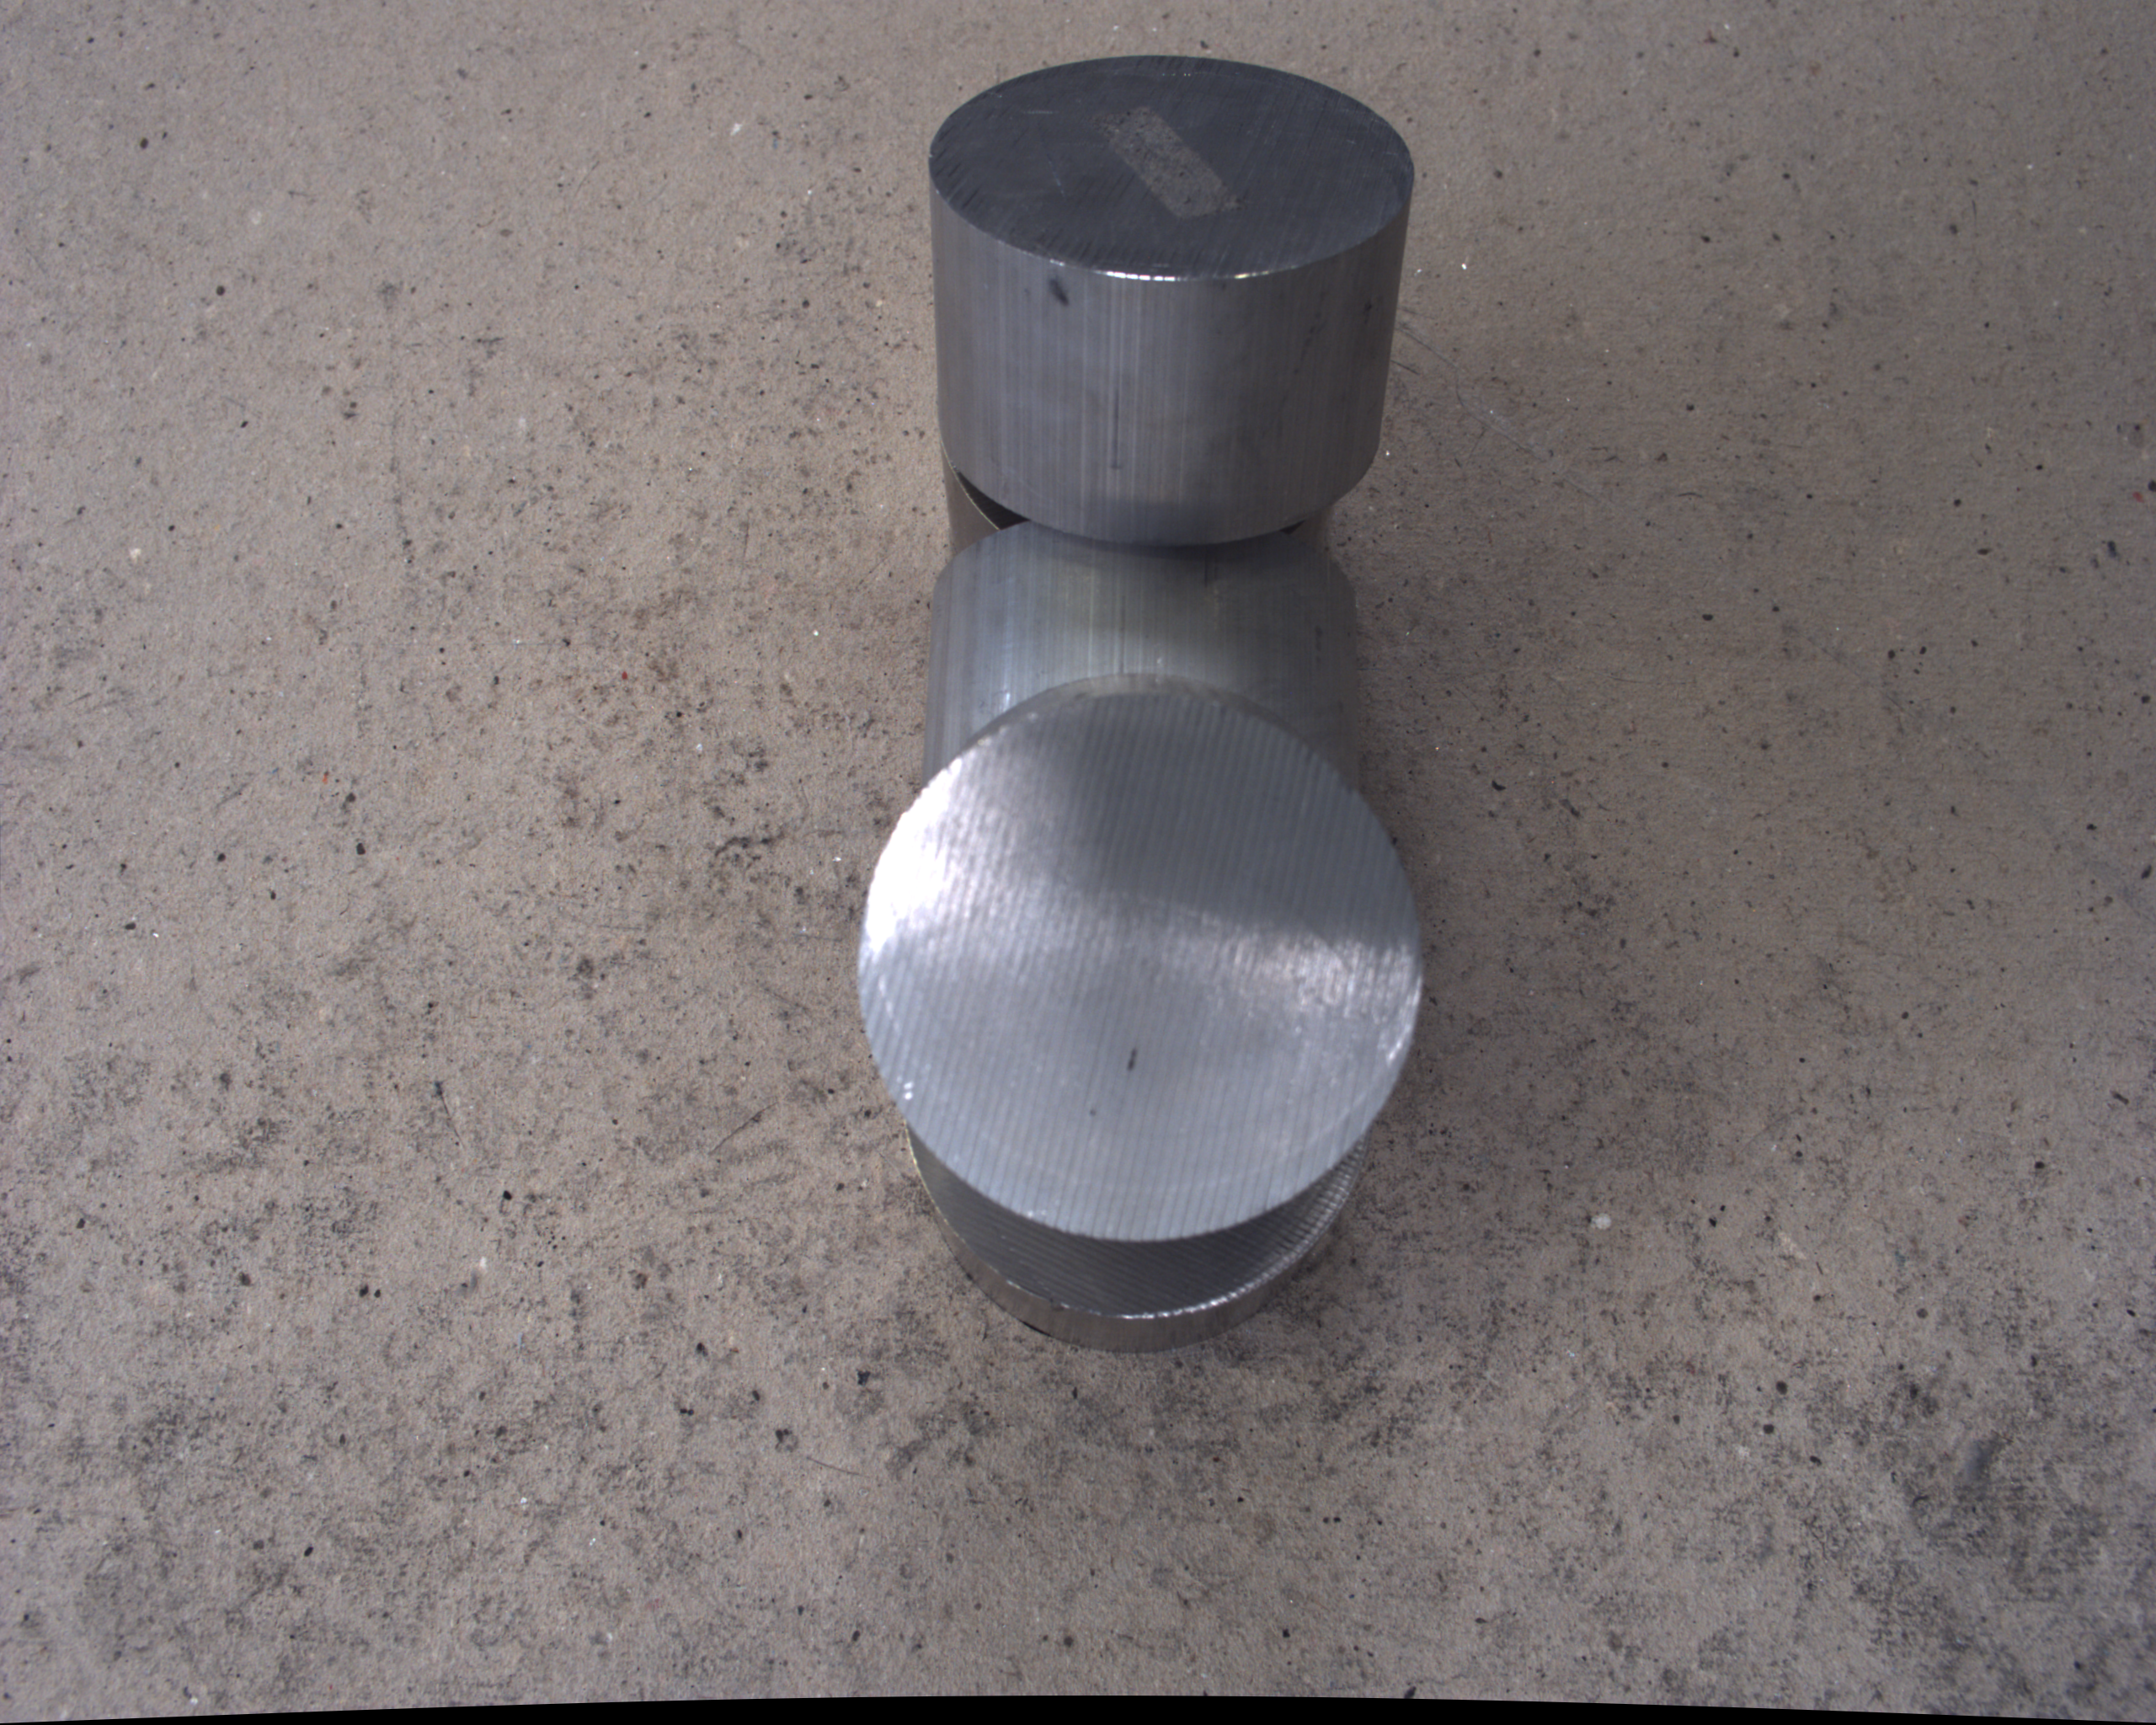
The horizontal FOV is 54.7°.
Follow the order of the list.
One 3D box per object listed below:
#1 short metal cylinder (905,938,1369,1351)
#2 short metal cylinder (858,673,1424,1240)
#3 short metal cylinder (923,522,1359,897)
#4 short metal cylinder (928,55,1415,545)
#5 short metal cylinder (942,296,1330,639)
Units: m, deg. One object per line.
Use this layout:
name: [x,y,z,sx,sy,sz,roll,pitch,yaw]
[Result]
short metal cylinder: [0.010,0.046,0.380,0.081,0.050,0.080,0,70,0]
short metal cylinder: [0.009,0.012,0.321,0.080,0.050,0.079,0,98,1]
short metal cylinder: [0.012,-0.025,0.390,0.080,0.080,0.050,1,70,0]
short metal cylinder: [0.015,-0.099,0.364,0.081,0.050,0.080,1,45,-1]
short metal cylinder: [0.013,-0.081,0.426,0.081,0.050,0.080,0,70,0]
